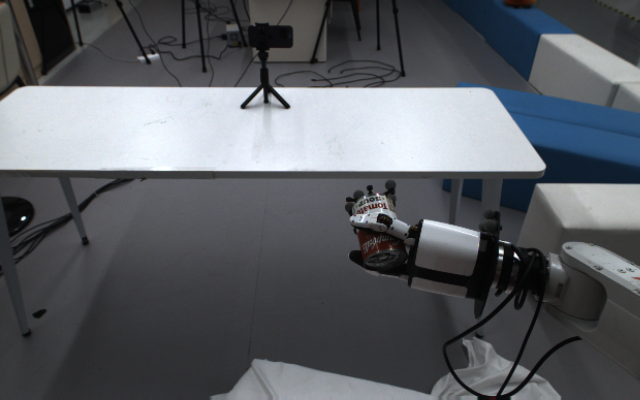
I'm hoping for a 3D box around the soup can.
[{"bbox_3d":[0.092,0.049,0.745,0.067,0.067,0.101,-5,57,-10],"label":"soup can"}]
